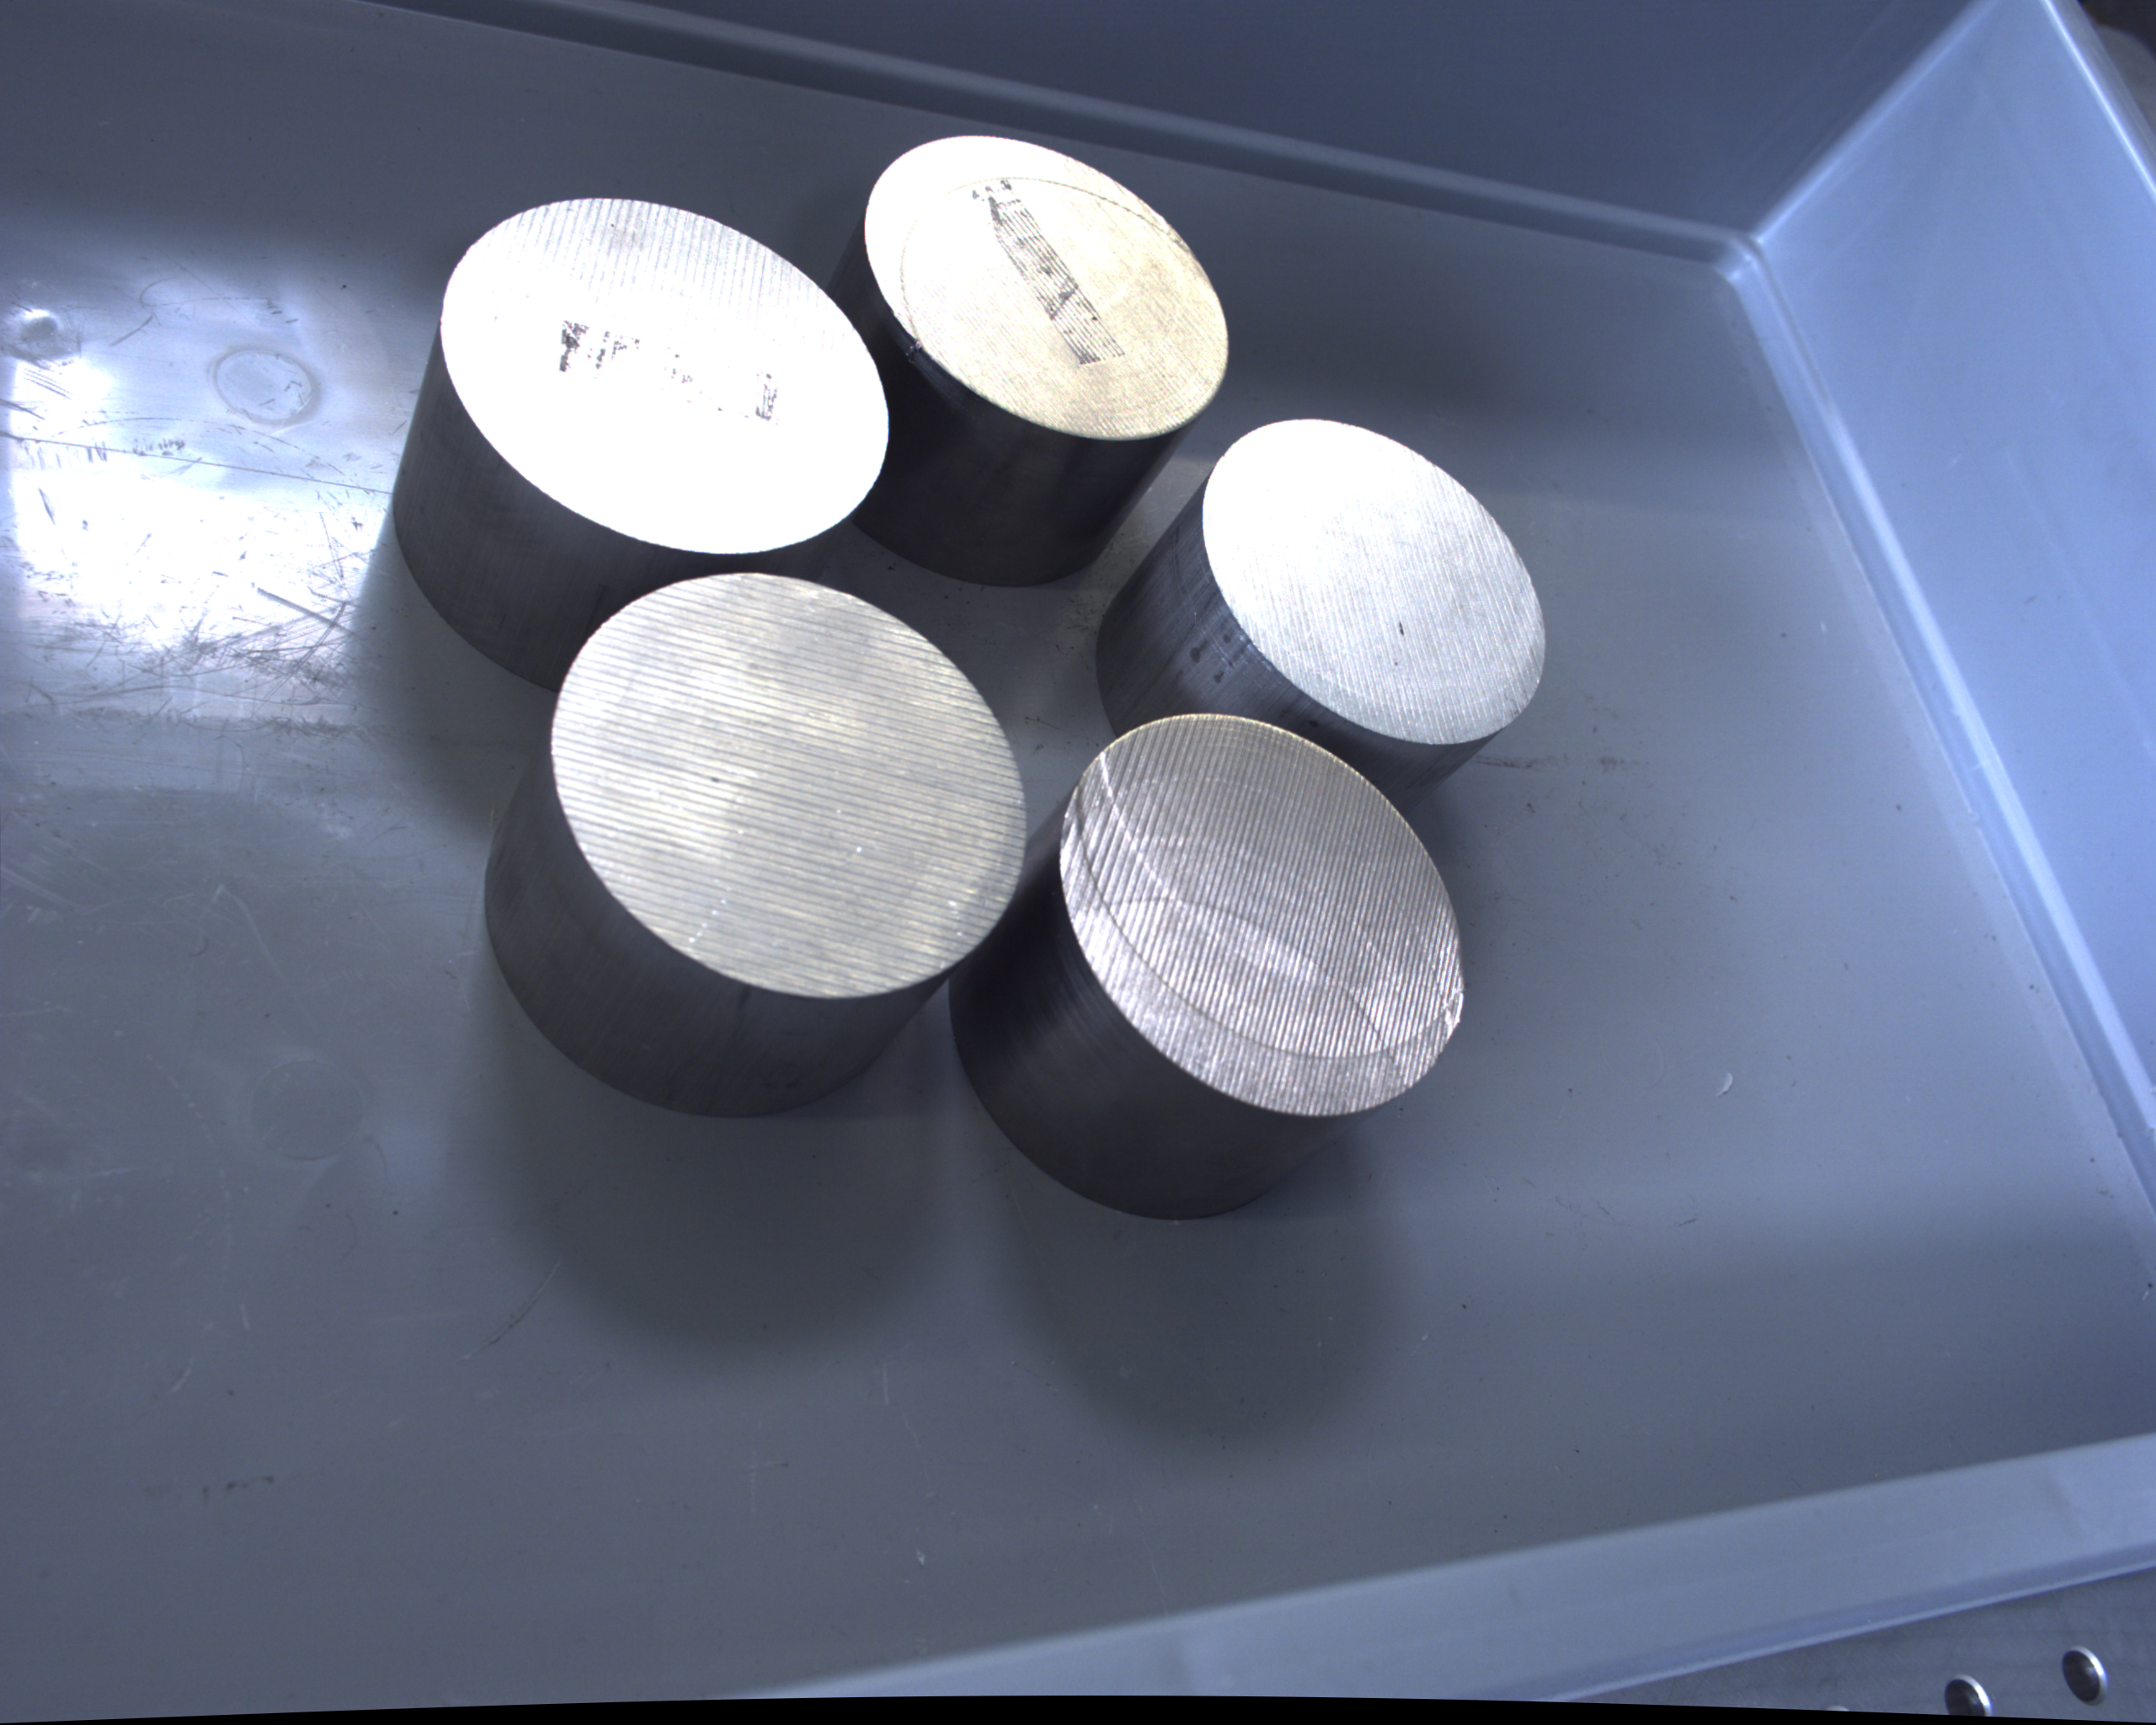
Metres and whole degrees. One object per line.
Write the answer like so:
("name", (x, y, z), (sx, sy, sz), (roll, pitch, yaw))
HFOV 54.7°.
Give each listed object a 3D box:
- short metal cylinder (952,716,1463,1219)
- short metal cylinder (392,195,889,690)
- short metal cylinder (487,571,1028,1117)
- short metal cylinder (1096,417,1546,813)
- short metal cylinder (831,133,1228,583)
("short metal cylinder", (0.023, 0.020, 0.387), (0.081, 0.050, 0.080), (14, 56, -21))
("short metal cylinder", (-0.082, -0.076, 0.389), (0.081, 0.050, 0.080), (14, 56, -21))
("short metal cylinder", (-0.056, -0.003, 0.359), (0.081, 0.050, 0.080), (14, 56, -21))
("short metal cylinder", (0.051, -0.047, 0.443), (0.081, 0.050, 0.080), (14, 56, -21))
("short metal cylinder", (-0.016, -0.107, 0.443), (0.081, 0.050, 0.080), (14, 56, -21))
